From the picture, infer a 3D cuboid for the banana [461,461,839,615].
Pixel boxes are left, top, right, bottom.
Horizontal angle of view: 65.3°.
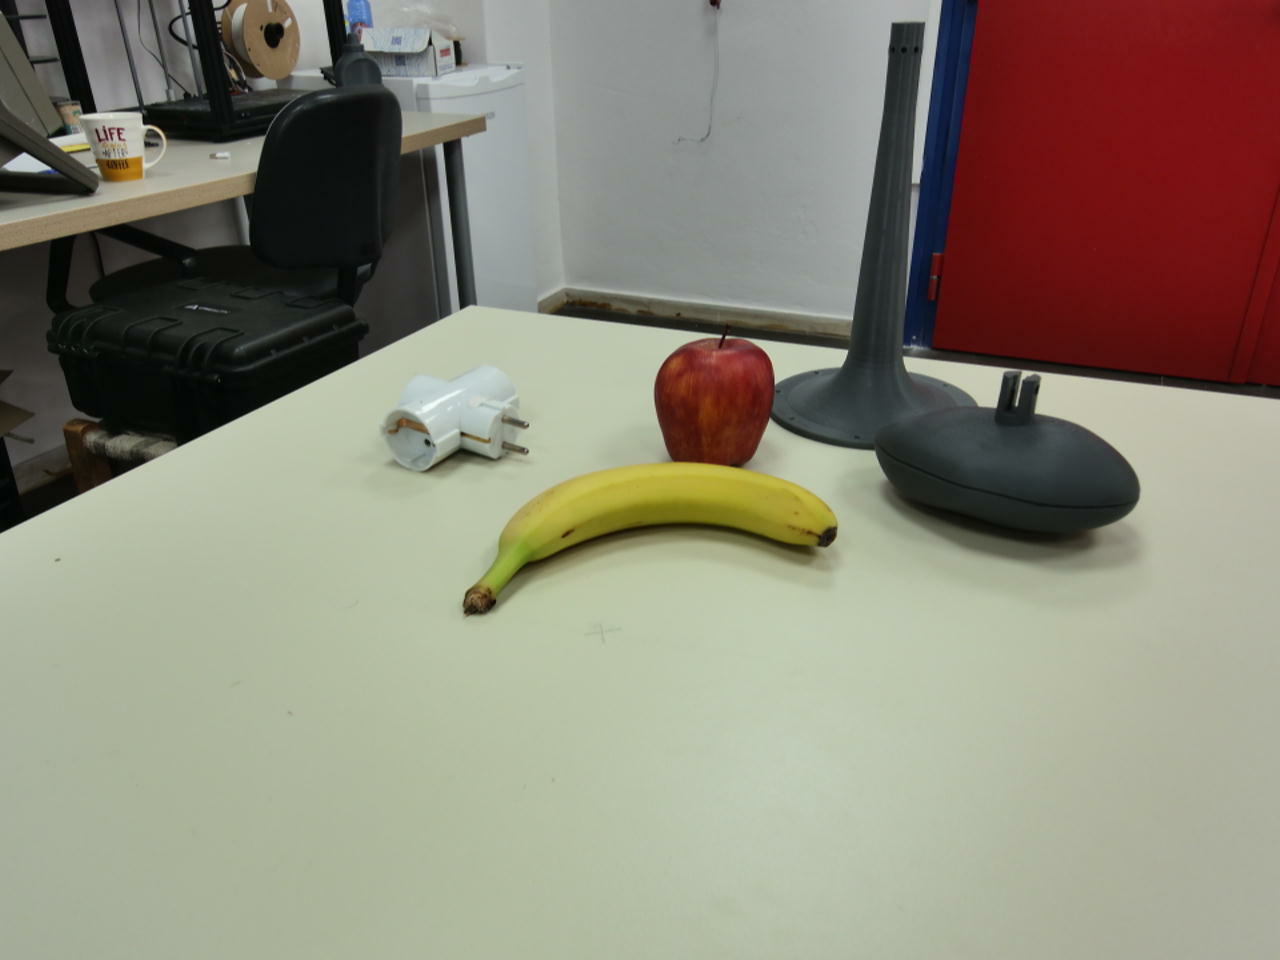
[{"bbox_3d":[0.001,0.022,0.542,0.196,0.041,0.094,-5,25,-10],"label":"banana"}]
